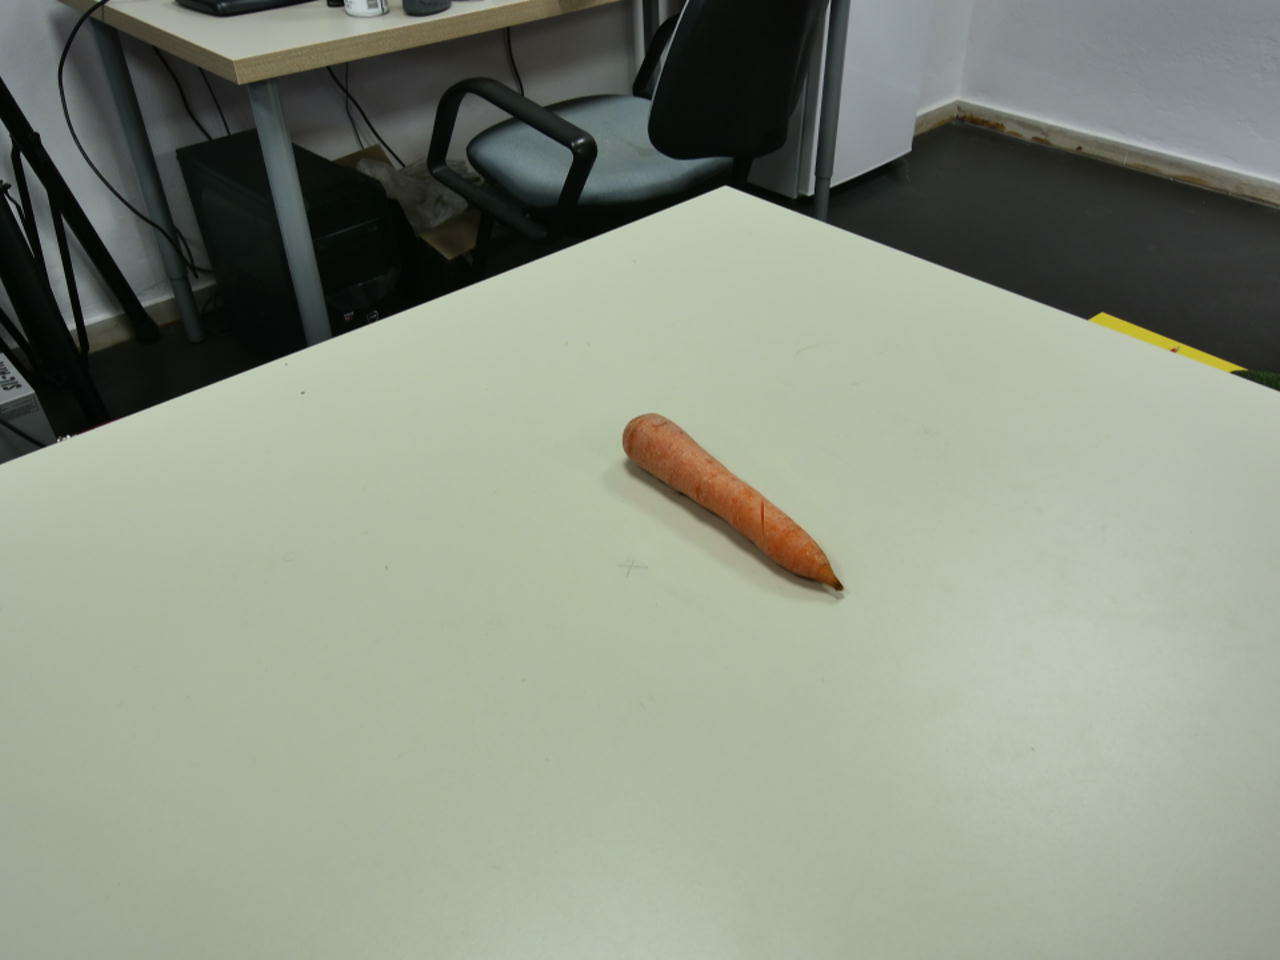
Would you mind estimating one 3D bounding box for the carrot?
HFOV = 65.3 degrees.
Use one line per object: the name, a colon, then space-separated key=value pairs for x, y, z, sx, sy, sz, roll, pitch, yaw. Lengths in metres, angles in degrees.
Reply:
carrot: x=0.060 y=0.010 z=0.648 sx=0.039 sy=0.041 sz=0.196 roll=-27 pitch=45 yaw=-32
